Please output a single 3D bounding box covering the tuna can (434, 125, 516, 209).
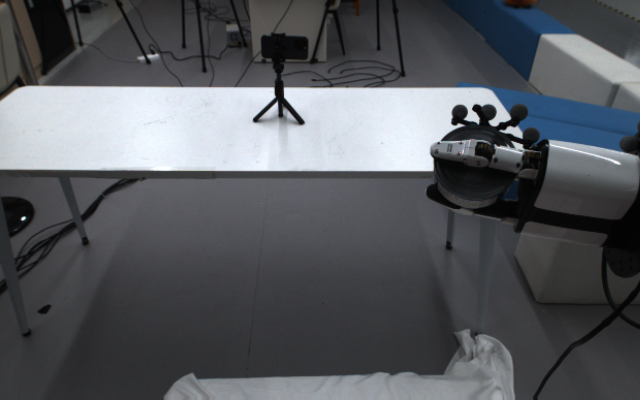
[{"bbox_3d":[0.167,-0.039,0.521,0.085,0.034,0.085,-4,66,10],"label":"tuna can"}]
